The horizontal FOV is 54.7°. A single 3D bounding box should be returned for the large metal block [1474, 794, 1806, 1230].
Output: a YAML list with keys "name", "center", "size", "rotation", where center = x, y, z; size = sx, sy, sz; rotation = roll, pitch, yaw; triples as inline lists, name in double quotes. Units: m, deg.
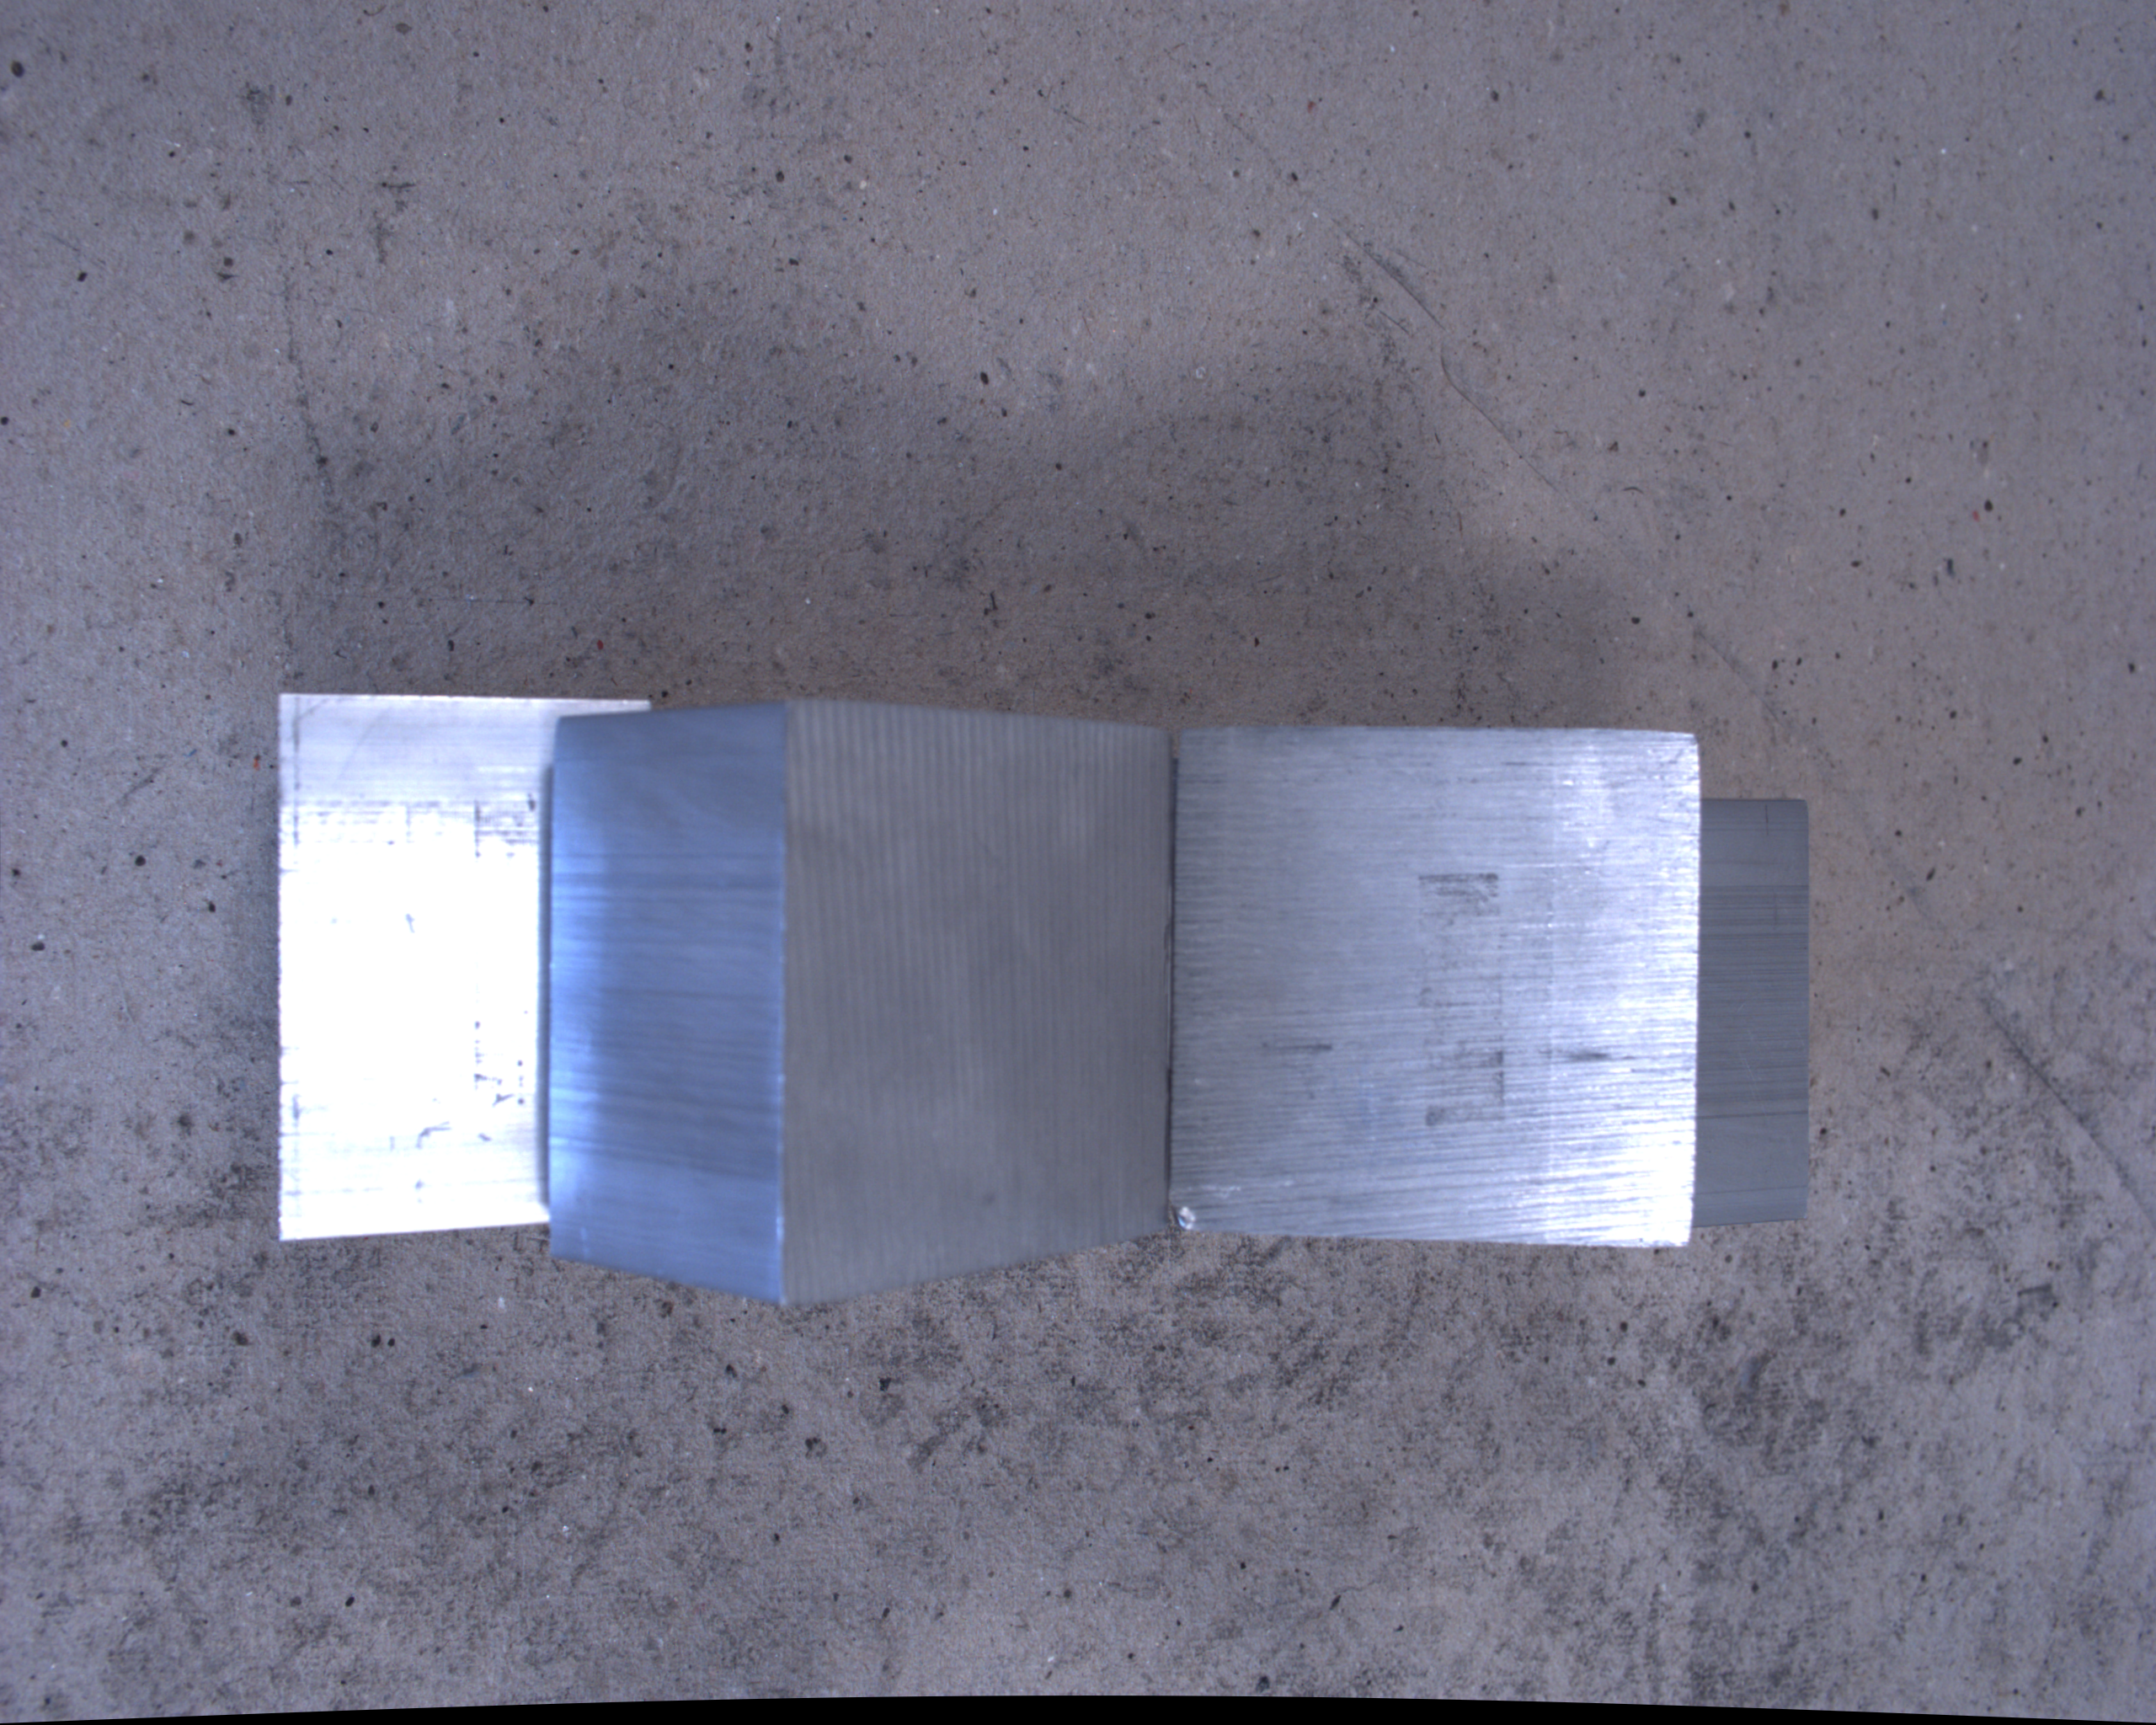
- name: "large metal block"
  center: [0.098, 0.027, 0.418]
  size: [0.050, 0.080, 0.080]
  rotation: [0, 90, -21]

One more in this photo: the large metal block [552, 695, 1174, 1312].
- name: "large metal block"
  center: [-0.030, 0.018, 0.315]
  size: [0.081, 0.050, 0.080]
  rotation: [0, 90, -49]

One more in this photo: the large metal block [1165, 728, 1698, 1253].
- name: "large metal block"
  center: [0.057, 0.019, 0.348]
  size: [0.080, 0.050, 0.080]
  rotation: [1, 90, 6]

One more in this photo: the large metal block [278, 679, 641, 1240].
- name: "large metal block"
  center: [-0.103, 0.014, 0.342]
  size: [0.050, 0.080, 0.080]
  rotation: [0, 89, -20]

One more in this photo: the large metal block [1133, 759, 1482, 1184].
- name: "large metal block"
  center: [0.032, 0.021, 0.408]
  size: [0.081, 0.050, 0.080]
  rotation: [0, 90, -20]

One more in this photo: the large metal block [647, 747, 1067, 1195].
- name: "large metal block"
  center: [-0.045, 0.018, 0.380]
  size: [0.081, 0.050, 0.080]
  rotation: [0, 90, -20]
